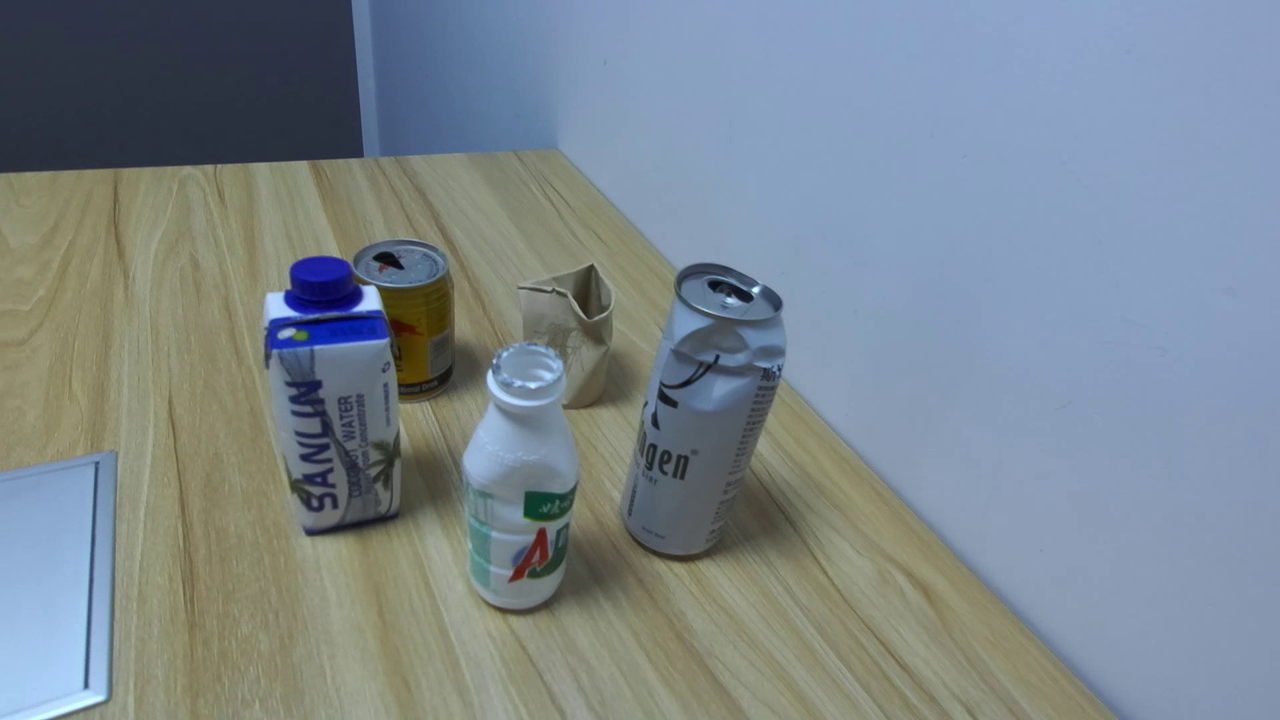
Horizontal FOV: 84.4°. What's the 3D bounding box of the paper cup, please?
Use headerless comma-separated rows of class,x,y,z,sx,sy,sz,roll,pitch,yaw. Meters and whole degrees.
paper cup,-0.051,-0.015,0.498,0.058,0.083,0.066,-8,39,-19

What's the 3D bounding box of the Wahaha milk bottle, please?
Wahaha milk bottle,-0.057,0.061,0.344,0.056,0.149,0.055,7,38,-5

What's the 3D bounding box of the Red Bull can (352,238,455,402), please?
Red Bull can,-0.160,-0.025,0.479,0.067,0.093,0.067,6,35,-4

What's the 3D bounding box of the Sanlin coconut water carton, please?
Sanlin coconut water carton,-0.159,0.022,0.370,0.061,0.144,0.060,-9,42,-26

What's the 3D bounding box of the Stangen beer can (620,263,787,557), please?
Stangen beer can,0.033,0.033,0.387,0.066,0.166,0.066,11,36,2
